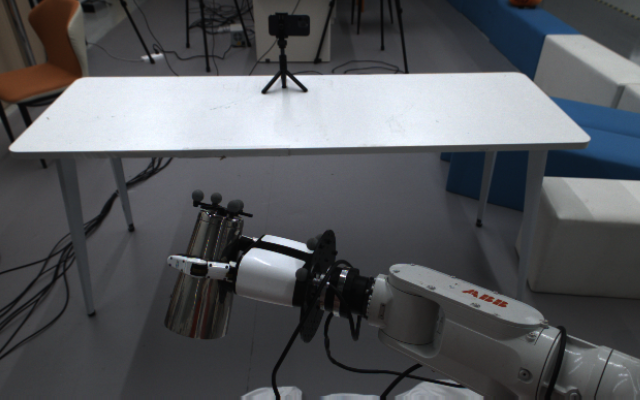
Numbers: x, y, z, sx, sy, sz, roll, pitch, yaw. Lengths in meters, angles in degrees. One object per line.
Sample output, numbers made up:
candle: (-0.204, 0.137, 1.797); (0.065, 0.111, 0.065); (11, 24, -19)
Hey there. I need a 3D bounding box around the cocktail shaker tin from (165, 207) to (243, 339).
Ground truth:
cocktail shaker tin: (-0.162, 0.104, 0.705); (0.093, 0.170, 0.093); (13, 2, 0)
